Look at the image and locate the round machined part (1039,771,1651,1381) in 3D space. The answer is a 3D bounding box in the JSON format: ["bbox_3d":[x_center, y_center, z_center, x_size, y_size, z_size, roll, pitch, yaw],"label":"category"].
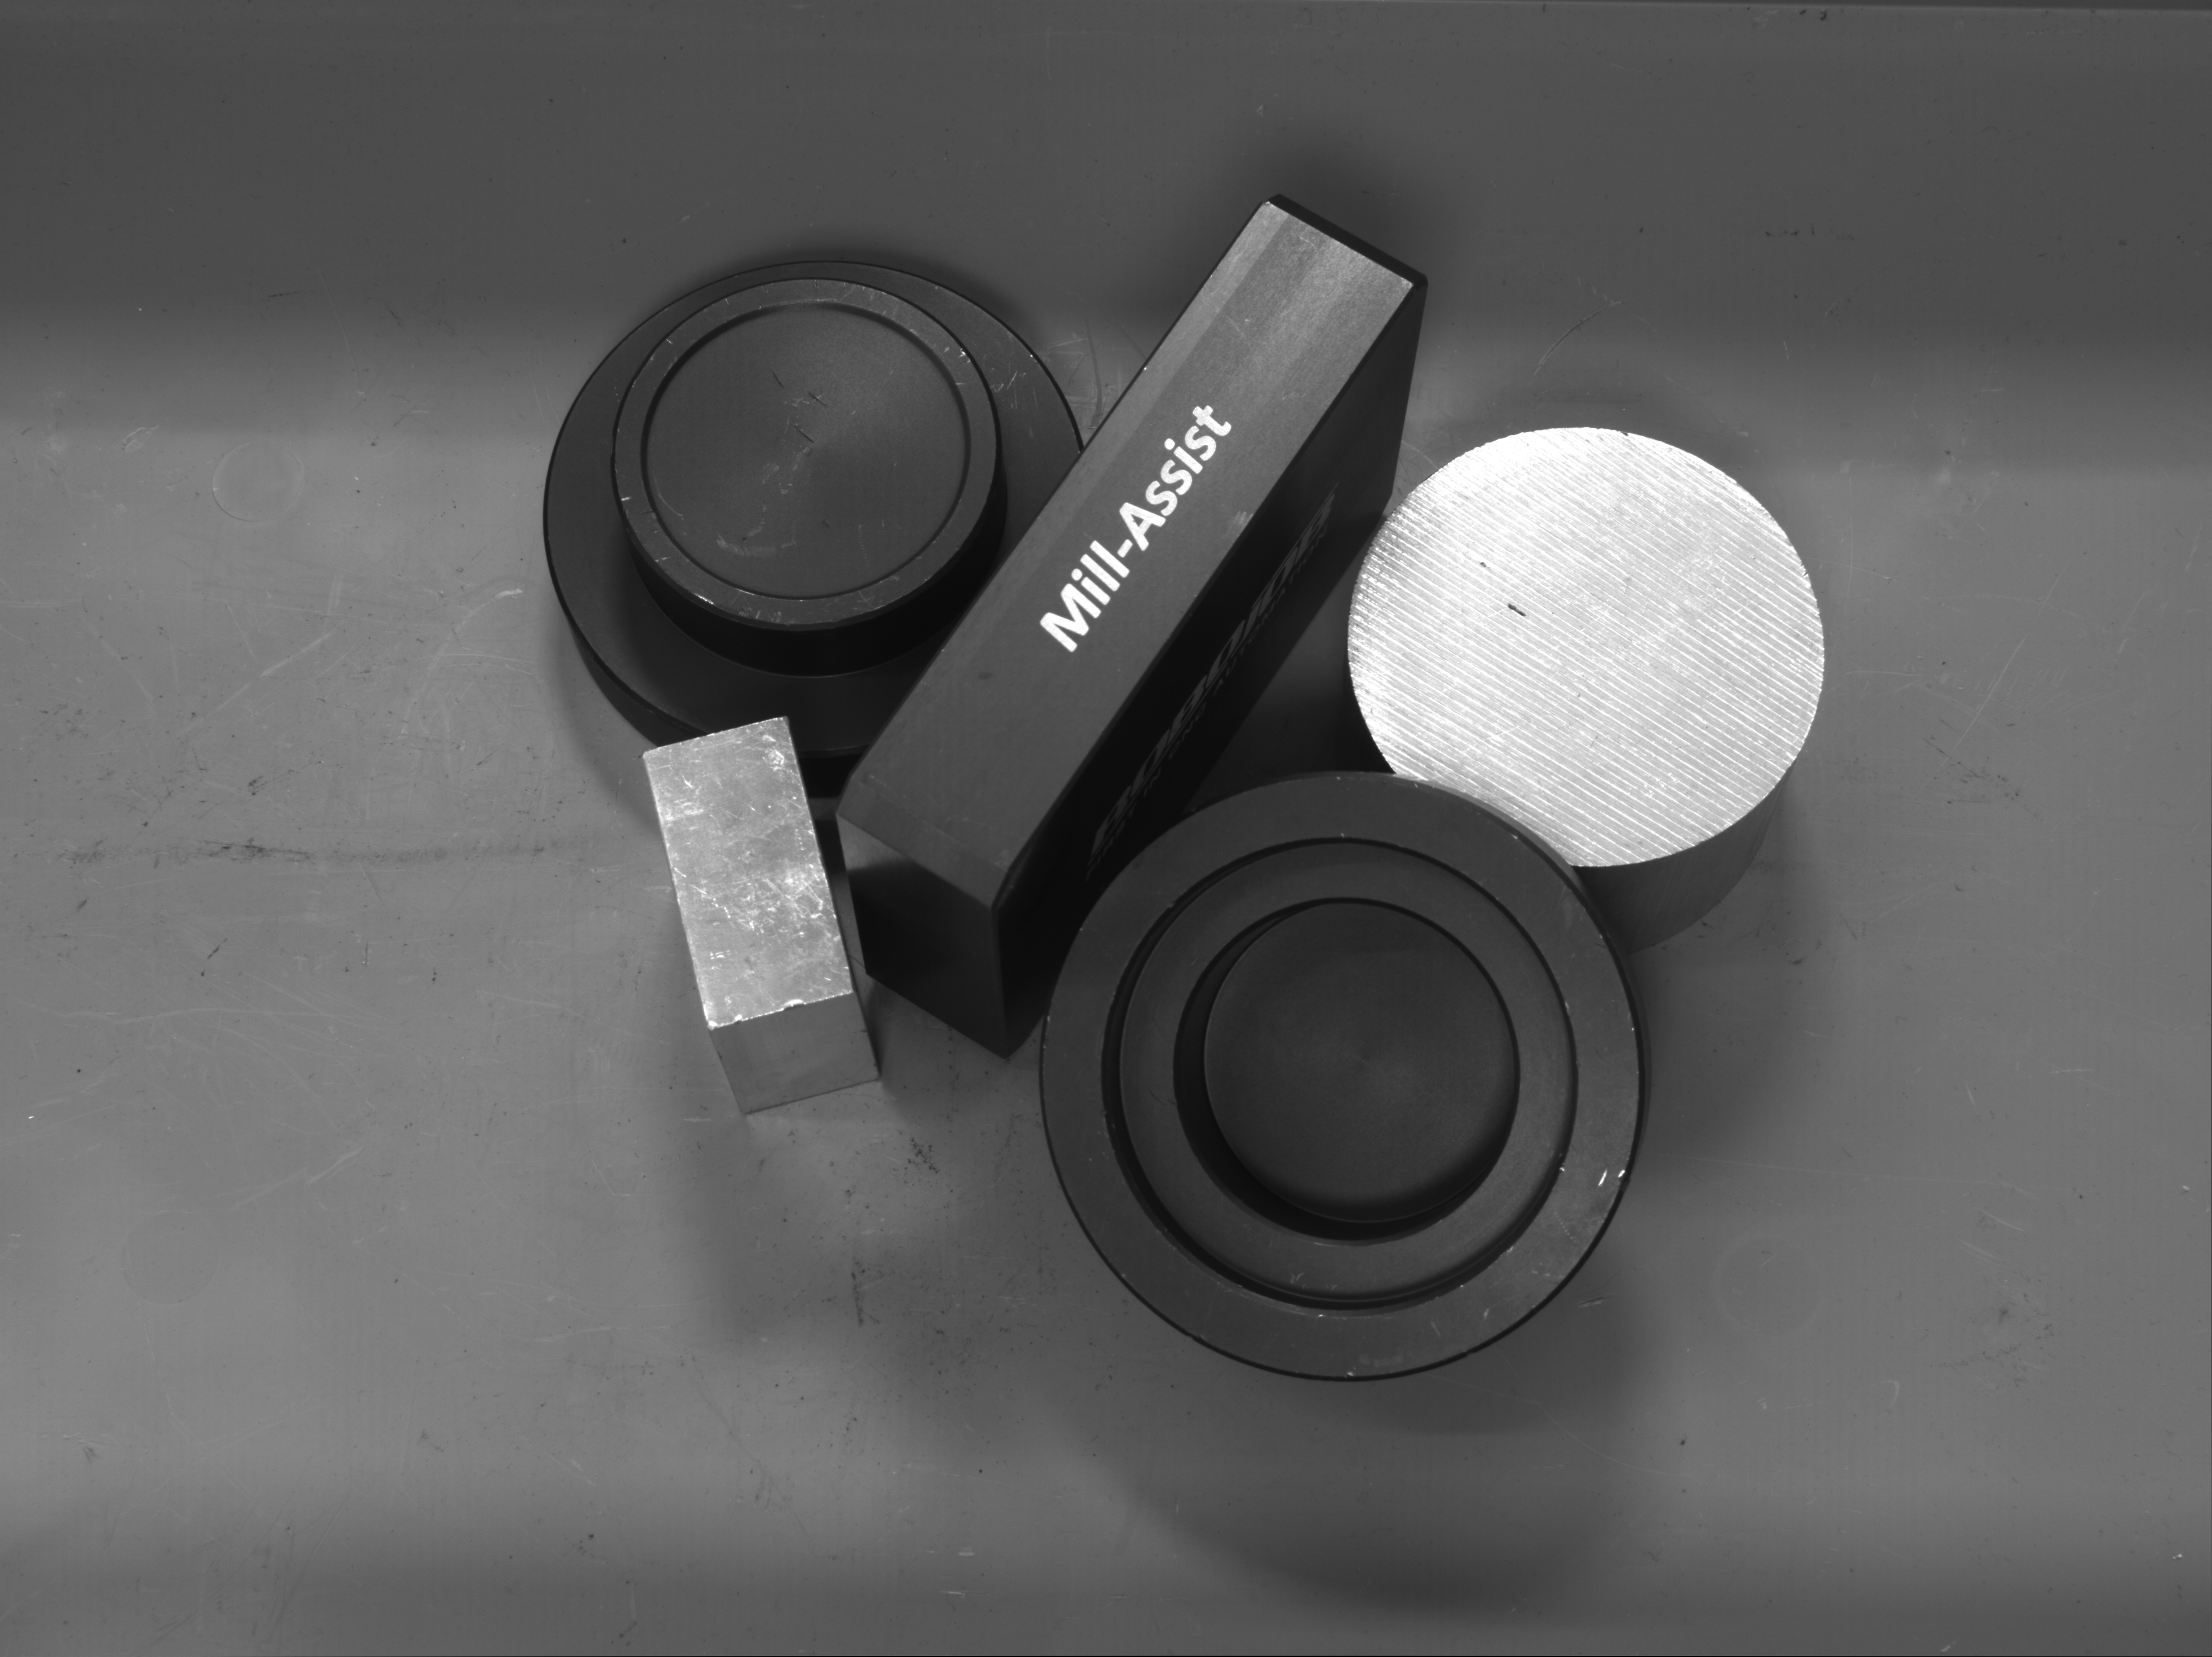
[{"bbox_3d":[0.041,0.039,0.608,0.098,0.042,0.098,0,91,11],"label":"round machined part"}]

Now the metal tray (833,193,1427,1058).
[{"bbox_3d":[0.005,-0.032,0.621,0.030,0.090,0.130,31,73,11],"label":"metal tray"}]

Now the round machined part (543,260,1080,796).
[{"bbox_3d":[-0.052,-0.059,0.656,0.098,0.042,0.098,0,70,0],"label":"round machined part"}]

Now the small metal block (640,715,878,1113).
[{"bbox_3d":[-0.059,0.015,0.624,0.025,0.050,0.050,-14,70,-5],"label":"small metal block"}]

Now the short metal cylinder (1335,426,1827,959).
[{"bbox_3d":[0.081,-0.023,0.639,0.080,0.050,0.080,0,70,0],"label":"short metal cylinder"}]
